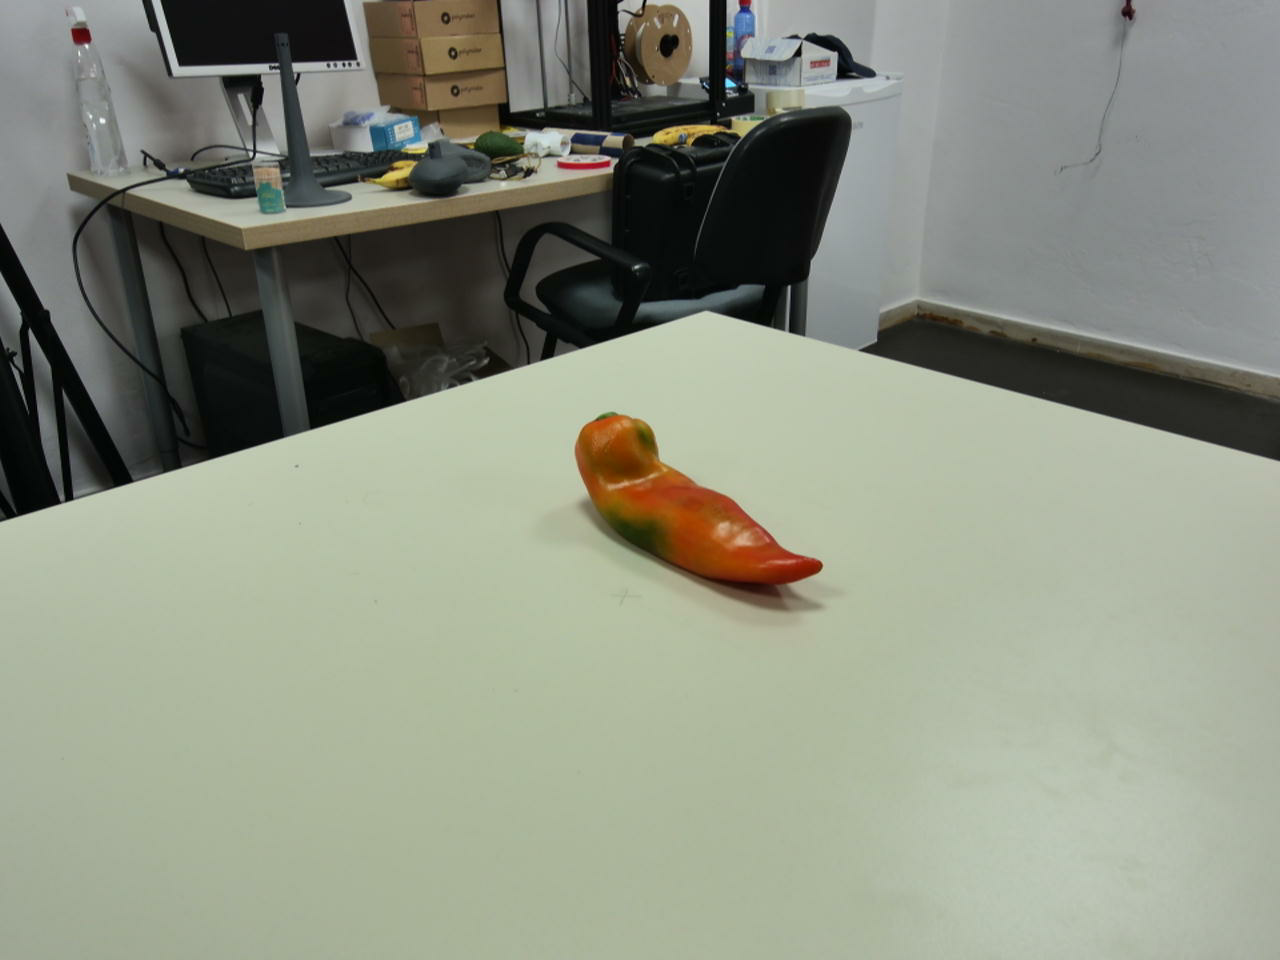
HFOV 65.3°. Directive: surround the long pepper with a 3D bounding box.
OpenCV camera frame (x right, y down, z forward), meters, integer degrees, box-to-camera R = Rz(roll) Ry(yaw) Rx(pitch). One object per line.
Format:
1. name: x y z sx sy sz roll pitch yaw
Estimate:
1. long pepper: 0.030 0.012 0.608 0.066 0.065 0.199 -17 29 -33
